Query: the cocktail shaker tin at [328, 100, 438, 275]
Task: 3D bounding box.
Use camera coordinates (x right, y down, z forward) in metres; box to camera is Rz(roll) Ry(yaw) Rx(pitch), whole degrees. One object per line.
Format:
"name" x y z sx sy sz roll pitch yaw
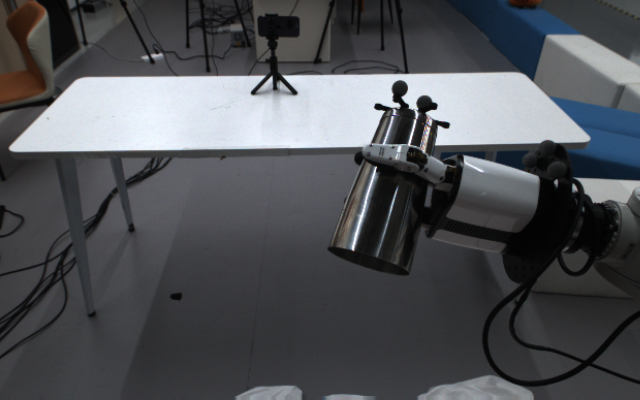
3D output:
"cocktail shaker tin" 0.079 -0.012 0.537 0.093 0.093 0.170 14 75 17
